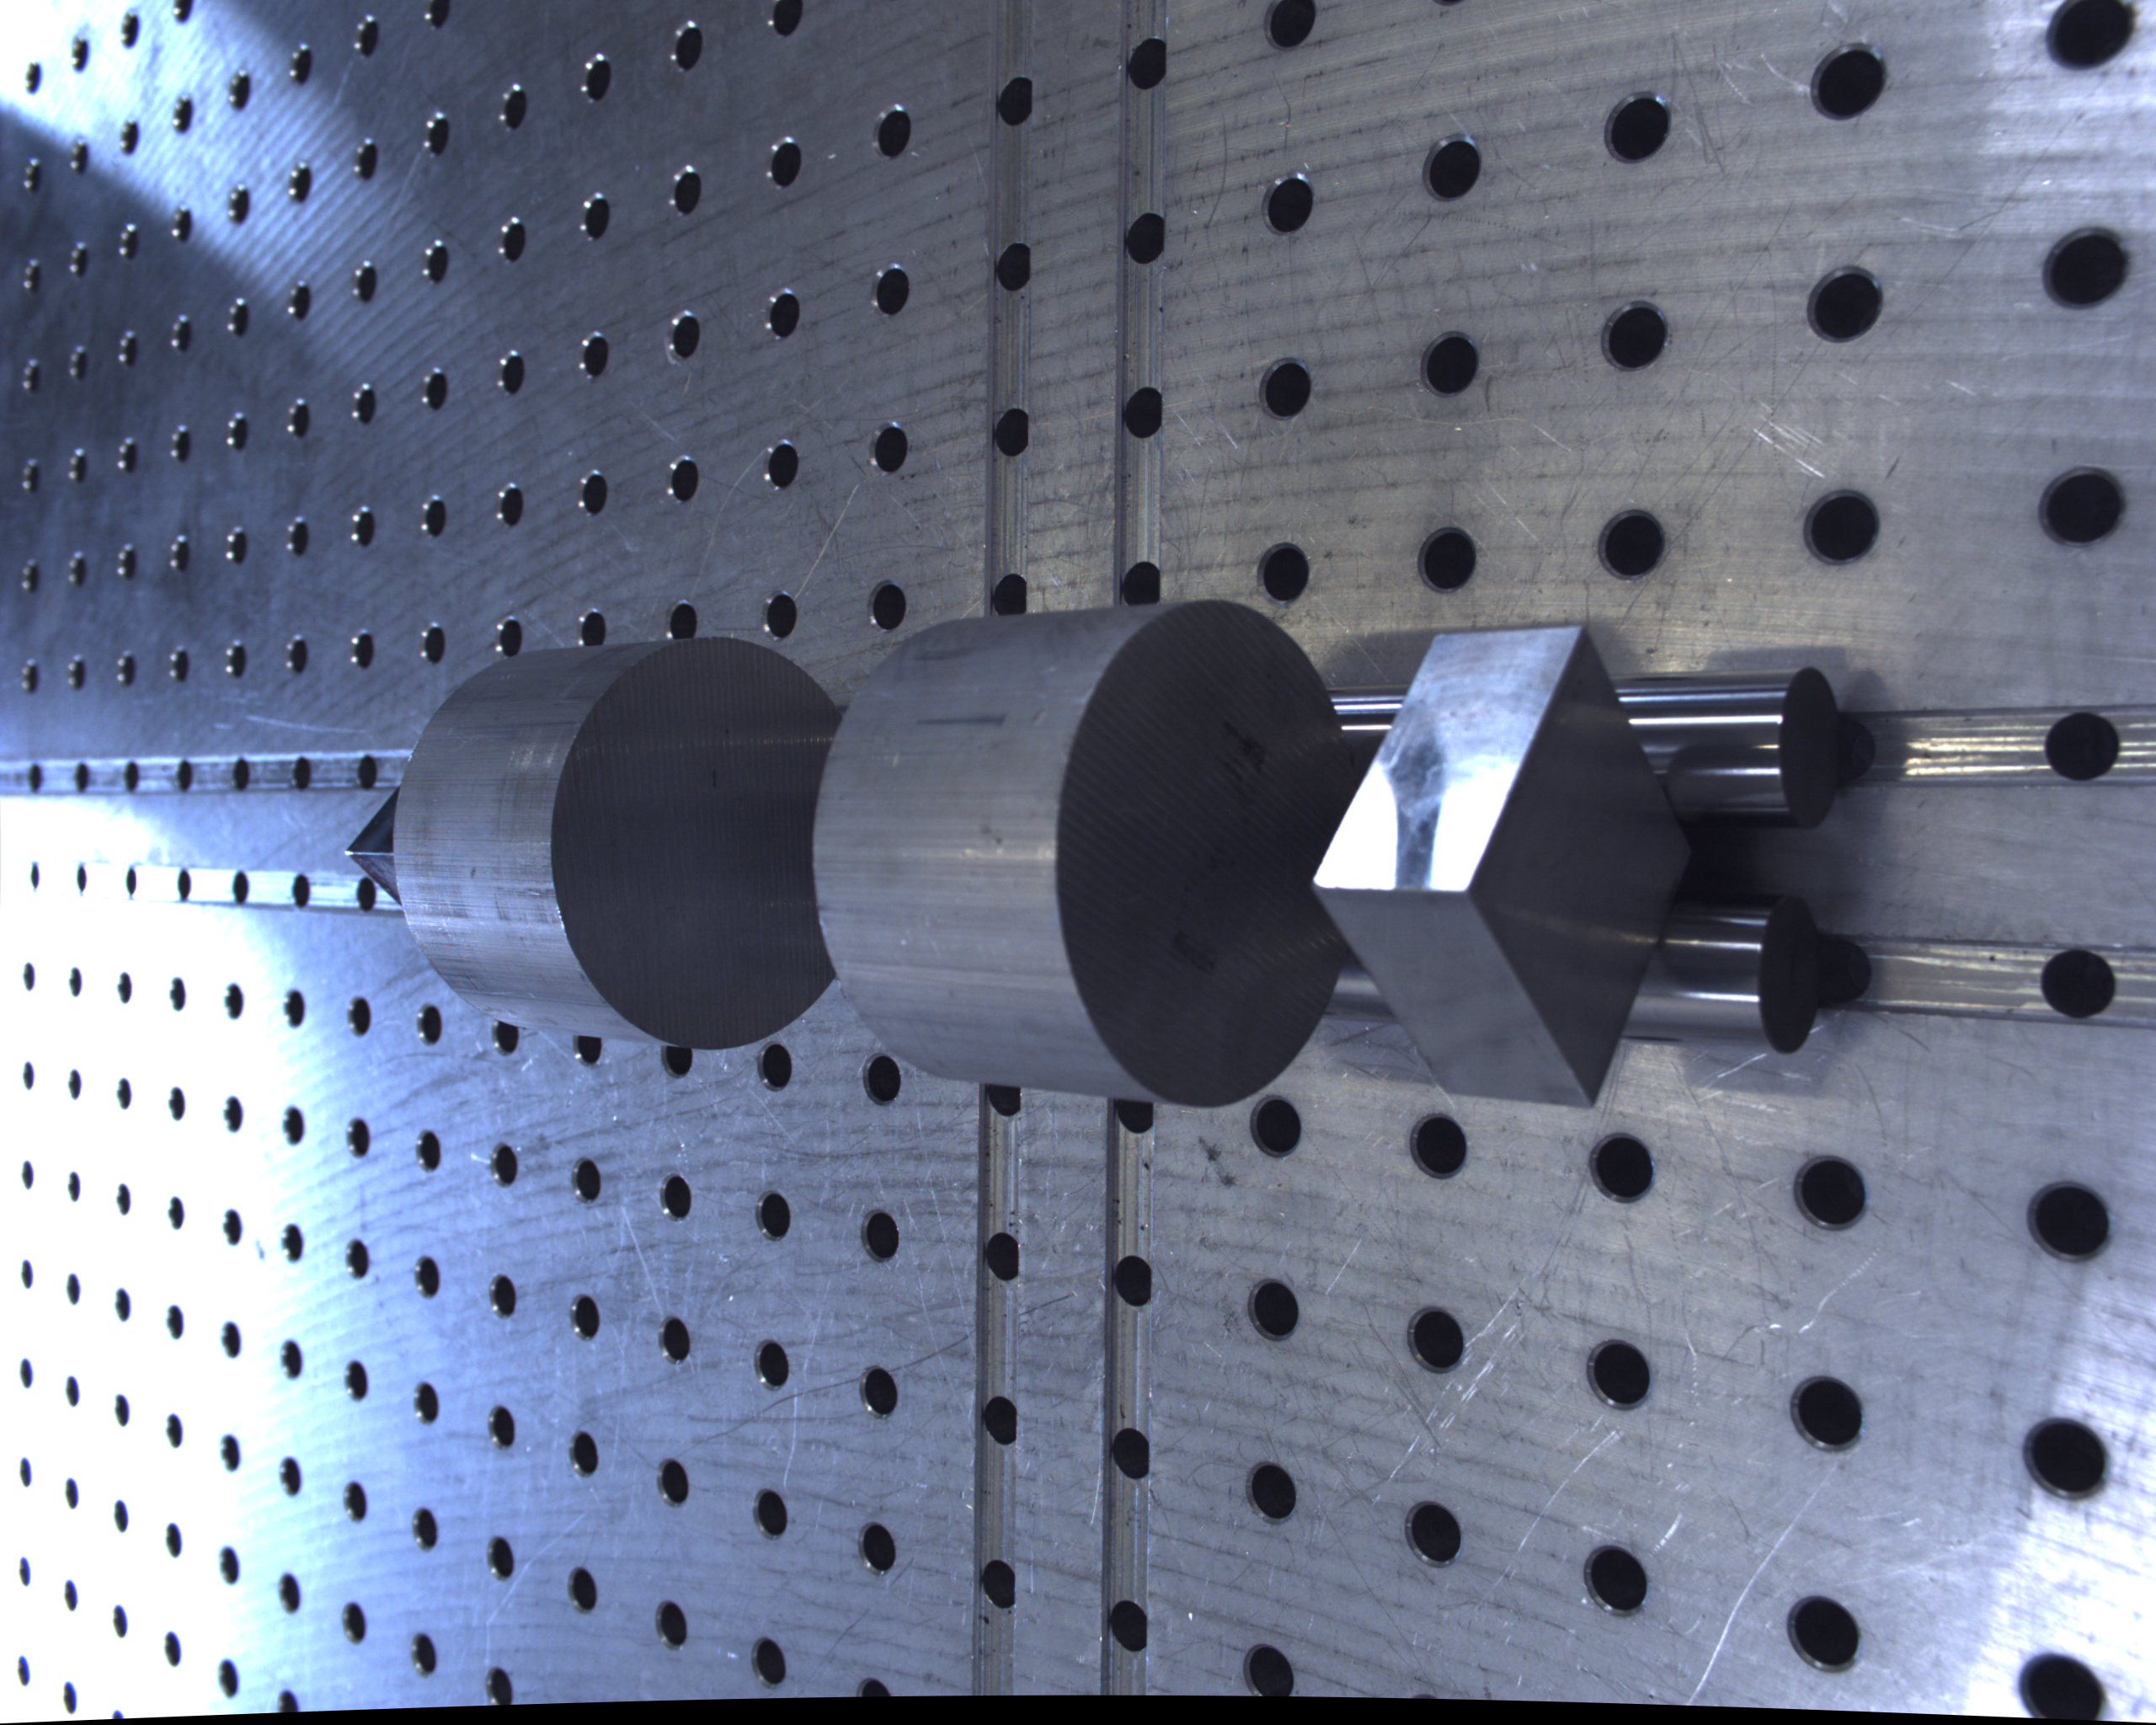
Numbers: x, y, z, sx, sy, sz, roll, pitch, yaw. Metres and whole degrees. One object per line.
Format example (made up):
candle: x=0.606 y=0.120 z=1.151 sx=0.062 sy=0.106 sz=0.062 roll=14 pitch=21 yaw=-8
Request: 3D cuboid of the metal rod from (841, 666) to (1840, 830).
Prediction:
metal rod: x=-0.004 y=-0.020 z=0.413 sx=0.300 sy=0.025 sz=0.025 roll=1 pitch=91 yaw=40

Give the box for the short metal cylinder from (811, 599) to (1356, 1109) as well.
short metal cylinder: x=0.003 y=-0.002 z=0.342 sx=0.050 sy=0.081 sz=0.079 roll=1 pitch=91 yaw=40

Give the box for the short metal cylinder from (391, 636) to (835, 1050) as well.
short metal cylinder: x=-0.087 y=-0.004 z=0.417 sx=0.050 sy=0.081 sz=0.079 roll=1 pitch=91 yaw=40

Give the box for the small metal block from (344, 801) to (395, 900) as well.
small metal block: x=-0.125 y=-0.004 z=0.467 sx=0.025 sy=0.050 sz=0.050 roll=1 pitch=49 yaw=40

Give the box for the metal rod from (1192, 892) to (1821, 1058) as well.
metal rod: x=-0.006 y=0.014 z=0.415 sx=0.300 sy=0.025 sz=0.025 roll=1 pitch=91 yaw=40

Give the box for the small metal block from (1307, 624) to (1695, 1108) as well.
small metal block: x=0.065 y=0.001 z=0.310 sx=0.025 sy=0.050 sz=0.050 roll=1 pitch=50 yaw=40
